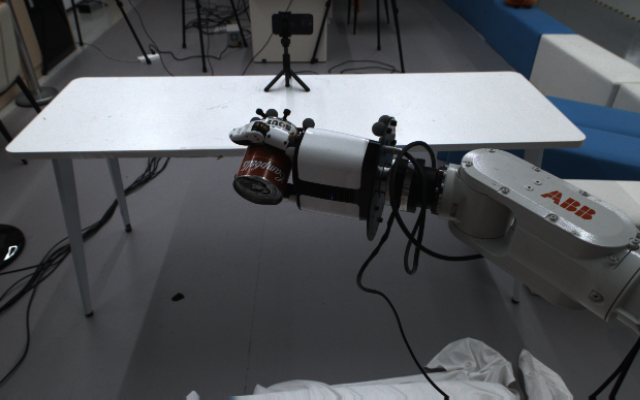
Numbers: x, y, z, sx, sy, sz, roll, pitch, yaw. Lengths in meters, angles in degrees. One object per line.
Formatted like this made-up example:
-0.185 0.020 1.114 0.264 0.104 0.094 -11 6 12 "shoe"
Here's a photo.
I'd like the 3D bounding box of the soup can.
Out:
-0.069 -0.053 0.647 0.067 0.067 0.101 9 58 10 "soup can"
